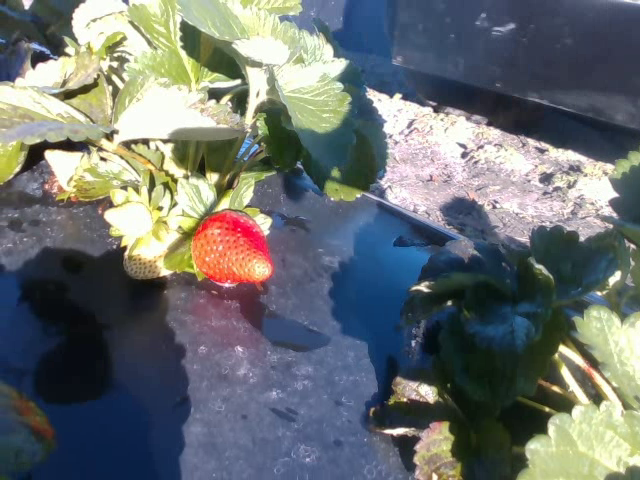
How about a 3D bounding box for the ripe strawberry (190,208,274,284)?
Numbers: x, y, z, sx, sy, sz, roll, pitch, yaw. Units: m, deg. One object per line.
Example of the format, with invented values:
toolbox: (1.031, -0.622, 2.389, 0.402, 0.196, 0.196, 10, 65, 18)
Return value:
ripe strawberry: (-0.042, 0.009, 0.324, 0.064, 0.049, 0.052, 29, -20, 44)
